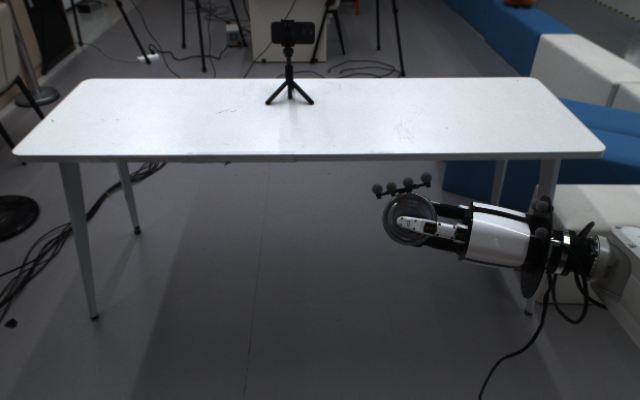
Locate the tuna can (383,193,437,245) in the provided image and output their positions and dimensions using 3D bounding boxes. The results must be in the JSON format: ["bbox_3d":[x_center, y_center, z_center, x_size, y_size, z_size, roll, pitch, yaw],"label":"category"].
[{"bbox_3d":[0.146,0.028,0.774,0.085,0.085,0.034,12,3,14],"label":"tuna can"}]
